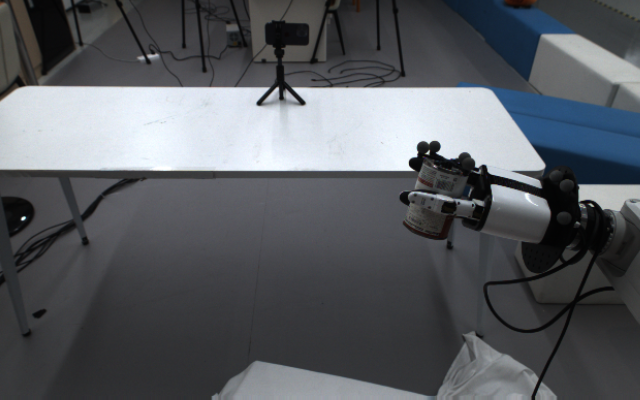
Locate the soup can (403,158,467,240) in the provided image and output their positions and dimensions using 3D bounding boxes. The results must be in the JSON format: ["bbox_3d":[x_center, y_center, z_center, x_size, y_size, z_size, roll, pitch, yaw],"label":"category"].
[{"bbox_3d":[0.168,-0.003,0.698,0.067,0.101,0.067,13,18,-4],"label":"soup can"}]
